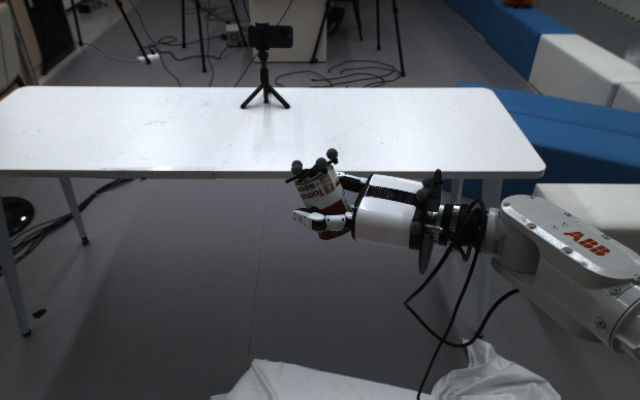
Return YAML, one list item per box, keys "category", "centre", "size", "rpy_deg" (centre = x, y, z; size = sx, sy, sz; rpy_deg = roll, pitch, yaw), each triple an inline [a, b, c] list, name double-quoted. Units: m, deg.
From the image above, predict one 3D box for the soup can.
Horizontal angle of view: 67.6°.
- category: "soup can"
  centre: [0.011, 0.002, 0.765]
  size: [0.067, 0.101, 0.067]
  rpy_deg: [-24, 16, 7]
